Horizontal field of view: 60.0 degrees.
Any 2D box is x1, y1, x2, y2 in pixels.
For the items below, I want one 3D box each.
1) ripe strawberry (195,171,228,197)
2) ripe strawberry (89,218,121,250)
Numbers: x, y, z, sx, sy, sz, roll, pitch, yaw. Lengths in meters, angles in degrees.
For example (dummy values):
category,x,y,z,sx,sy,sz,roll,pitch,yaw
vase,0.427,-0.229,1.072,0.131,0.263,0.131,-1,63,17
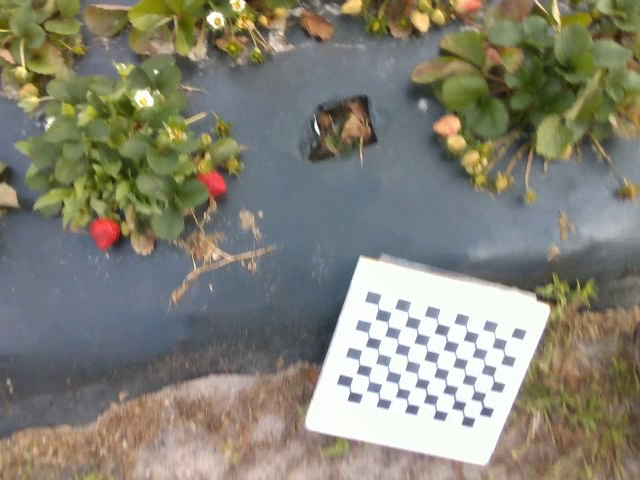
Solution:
category,x,y,z,sx,sy,sz,roll,pitch,yaw
ripe strawberry,-0.157,-0.080,0.774,0.046,0.043,0.046,19,8,23
ripe strawberry,-0.302,-0.007,0.758,0.043,0.051,0.043,0,-17,-4
